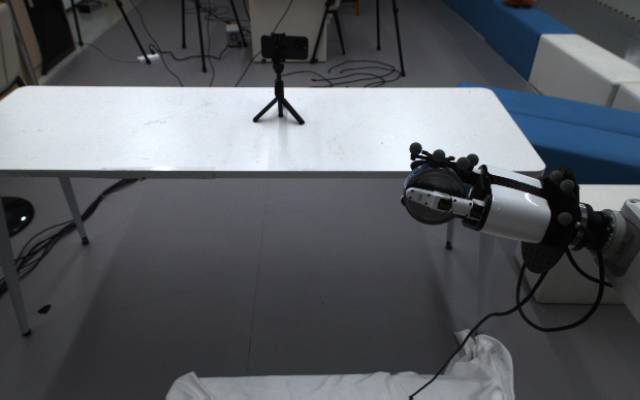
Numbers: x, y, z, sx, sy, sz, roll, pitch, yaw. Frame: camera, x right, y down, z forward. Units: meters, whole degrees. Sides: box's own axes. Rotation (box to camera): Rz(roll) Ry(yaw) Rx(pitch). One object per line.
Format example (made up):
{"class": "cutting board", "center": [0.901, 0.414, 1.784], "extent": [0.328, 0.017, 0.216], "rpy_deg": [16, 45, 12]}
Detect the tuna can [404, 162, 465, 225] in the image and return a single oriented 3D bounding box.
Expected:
{"class": "tuna can", "center": [0.163, -0.013, 0.693], "extent": [0.085, 0.085, 0.034], "rpy_deg": [5, 18, 4]}
